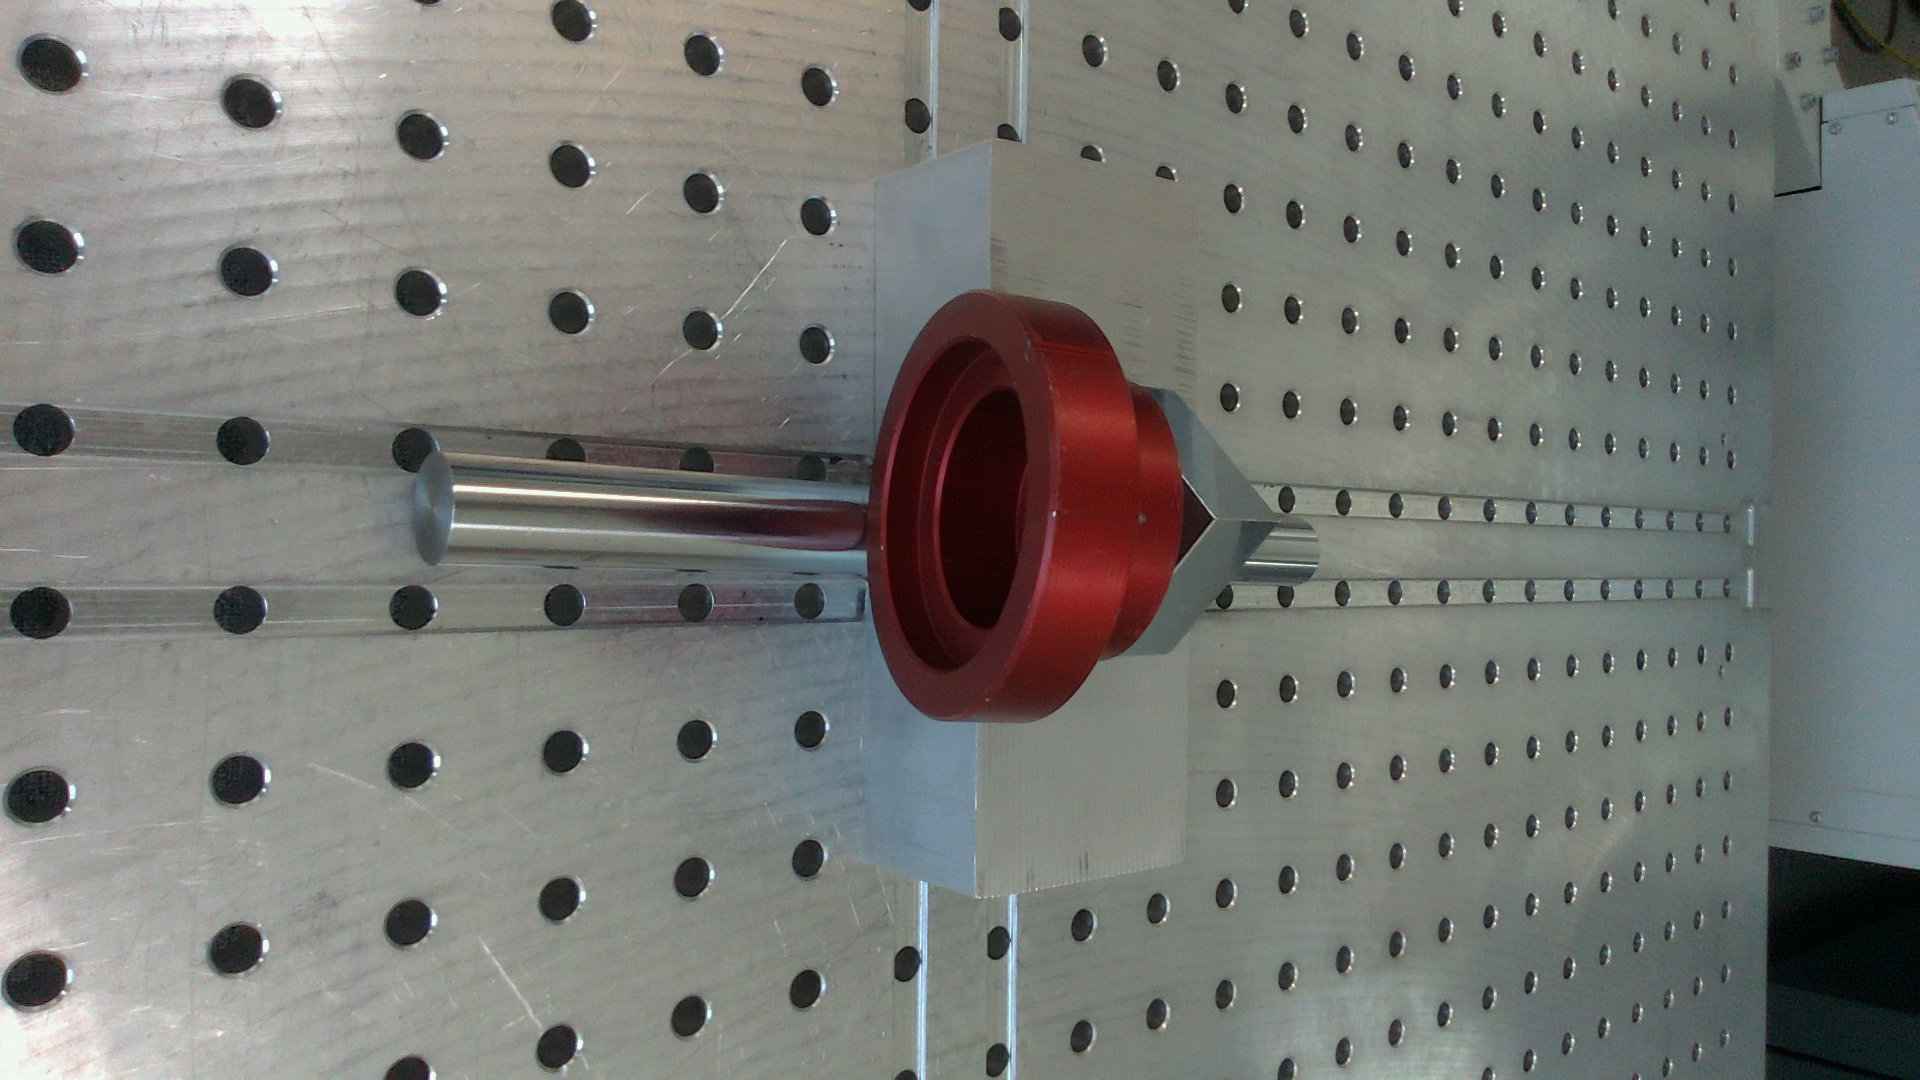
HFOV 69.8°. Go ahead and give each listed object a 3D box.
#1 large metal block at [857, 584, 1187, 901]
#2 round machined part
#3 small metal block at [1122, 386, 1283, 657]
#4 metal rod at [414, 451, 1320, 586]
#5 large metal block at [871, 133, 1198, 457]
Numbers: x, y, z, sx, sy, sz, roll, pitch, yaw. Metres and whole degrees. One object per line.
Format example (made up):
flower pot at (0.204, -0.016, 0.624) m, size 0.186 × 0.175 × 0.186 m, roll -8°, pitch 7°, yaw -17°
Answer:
large metal block at (0.019, 0.052, 0.391) m, size 0.080 × 0.050 × 0.080 m, roll 2°, pitch 89°, yaw -40°
round machined part at (0.016, -0.006, 0.320) m, size 0.042 × 0.098 × 0.098 m, roll 5°, pitch 87°, yaw -25°
small metal block at (0.048, -0.005, 0.358) m, size 0.025 × 0.050 × 0.050 m, roll 1°, pitch 45°, yaw -40°
metal rod at (0.002, -0.001, 0.393) m, size 0.301 × 0.025 × 0.025 m, roll 3°, pitch 88°, yaw -40°
large metal block at (0.022, -0.063, 0.394) m, size 0.080 × 0.050 × 0.080 m, roll 1°, pitch 90°, yaw -40°
